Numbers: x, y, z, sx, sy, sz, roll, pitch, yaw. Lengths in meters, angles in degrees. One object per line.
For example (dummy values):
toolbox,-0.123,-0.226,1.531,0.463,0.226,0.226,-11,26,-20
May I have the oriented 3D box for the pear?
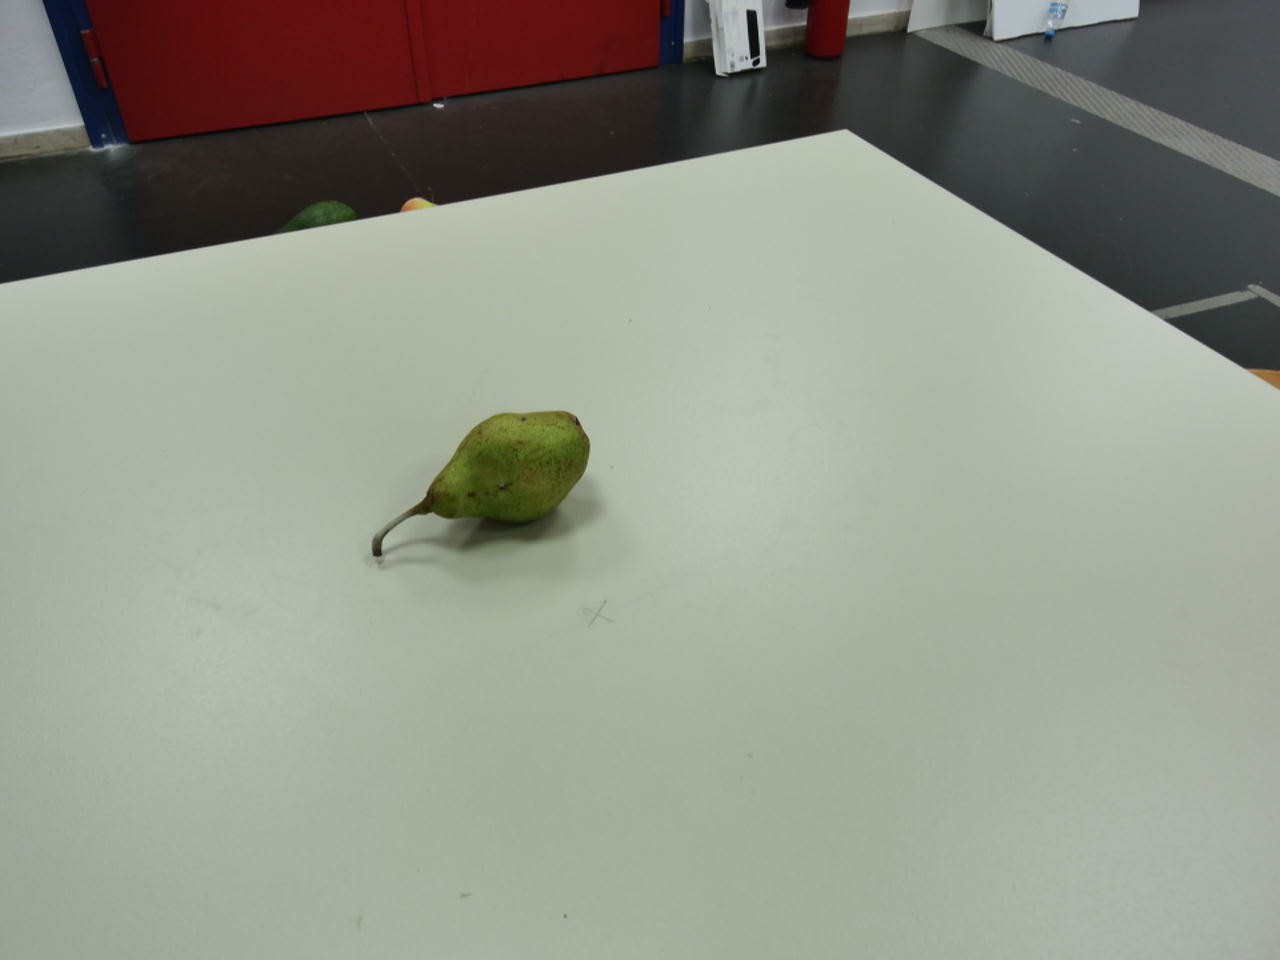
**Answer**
pear,-0.079,-0.005,0.495,0.111,0.056,0.056,-6,39,-8
